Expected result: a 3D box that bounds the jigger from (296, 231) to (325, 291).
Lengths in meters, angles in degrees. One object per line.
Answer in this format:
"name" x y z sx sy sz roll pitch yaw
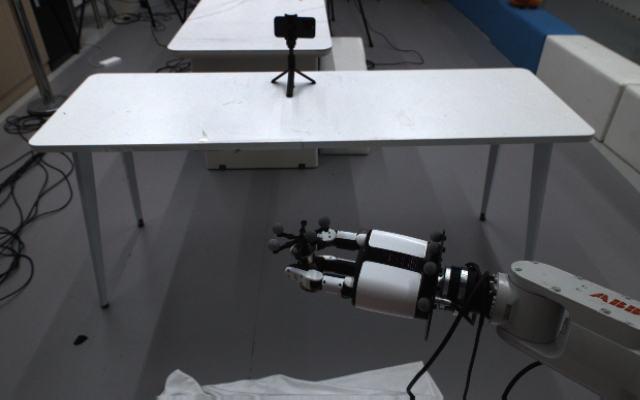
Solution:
"jigger" -0.016 0.098 0.721 0.043 0.071 0.043 -10 32 6
